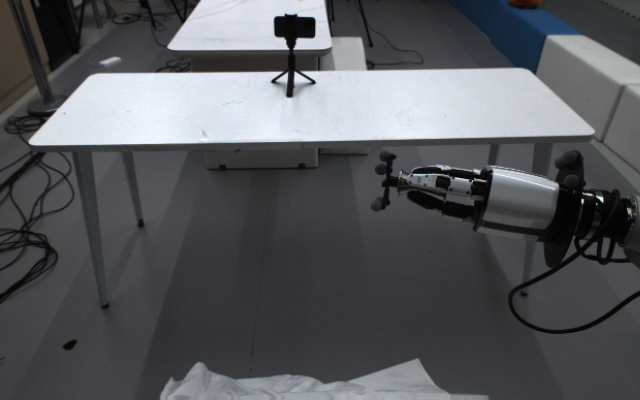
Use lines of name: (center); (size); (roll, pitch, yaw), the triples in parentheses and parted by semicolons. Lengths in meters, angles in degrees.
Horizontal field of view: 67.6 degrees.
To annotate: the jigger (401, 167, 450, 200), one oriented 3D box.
jigger: (0.154, -0.024, 0.695); (0.071, 0.043, 0.043); (8, 35, 14)
